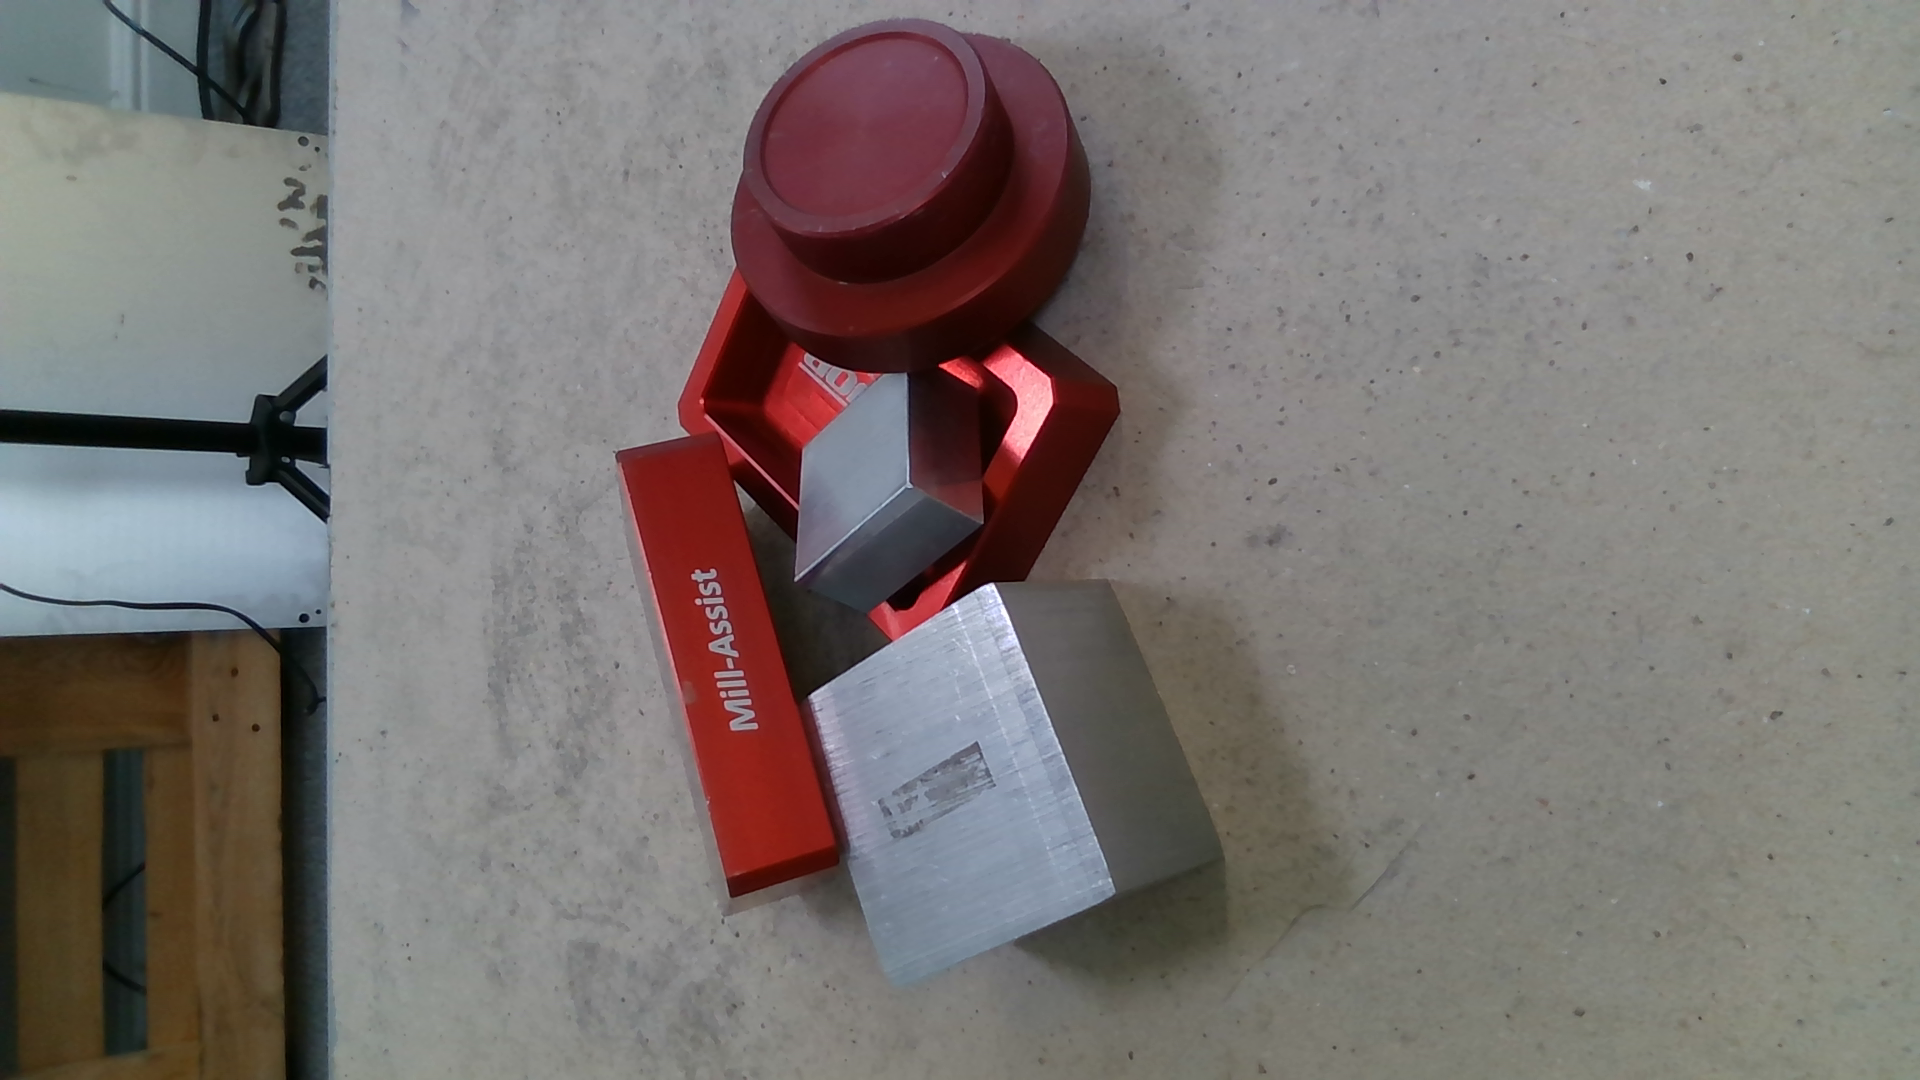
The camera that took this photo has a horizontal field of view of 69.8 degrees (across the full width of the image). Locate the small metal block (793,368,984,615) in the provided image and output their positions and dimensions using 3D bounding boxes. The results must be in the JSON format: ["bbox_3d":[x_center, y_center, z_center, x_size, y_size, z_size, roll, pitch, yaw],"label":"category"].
[{"bbox_3d":[-0.020,-0.016,0.378,0.050,0.025,0.050,-39,39,36],"label":"small metal block"}]

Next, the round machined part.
[{"bbox_3d":[-0.018,-0.097,0.367,0.098,0.042,0.098,-9,63,18],"label":"round machined part"}]

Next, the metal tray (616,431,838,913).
[{"bbox_3d":[-0.073,0.044,0.420,0.090,0.030,0.130,121,134,-69],"label":"metal tray"}]

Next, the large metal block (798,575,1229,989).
[{"bbox_3d":[0.011,0.063,0.366,0.080,0.050,0.080,-34,69,35],"label":"large metal block"}]

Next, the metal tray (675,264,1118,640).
[{"bbox_3d":[-0.025,-0.040,0.407,0.130,0.030,0.090,42,116,32],"label":"metal tray"}]
